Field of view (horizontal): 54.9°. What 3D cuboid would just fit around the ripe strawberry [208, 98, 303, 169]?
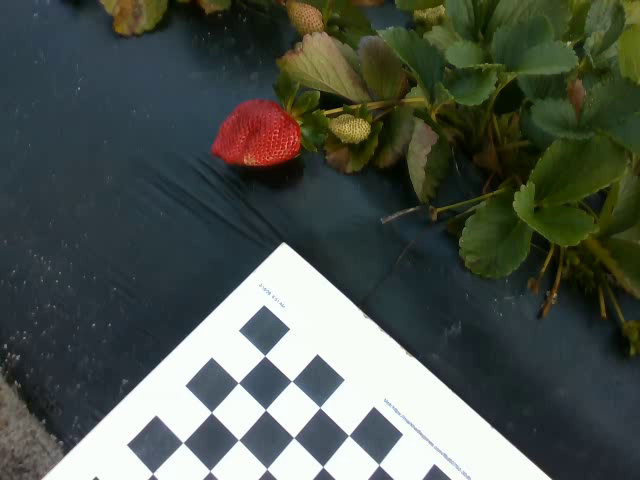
[{"bbox_3d":[-0.050,-0.079,0.467,0.074,0.067,0.039,-41,-18,-19],"label":"ripe strawberry"}]
